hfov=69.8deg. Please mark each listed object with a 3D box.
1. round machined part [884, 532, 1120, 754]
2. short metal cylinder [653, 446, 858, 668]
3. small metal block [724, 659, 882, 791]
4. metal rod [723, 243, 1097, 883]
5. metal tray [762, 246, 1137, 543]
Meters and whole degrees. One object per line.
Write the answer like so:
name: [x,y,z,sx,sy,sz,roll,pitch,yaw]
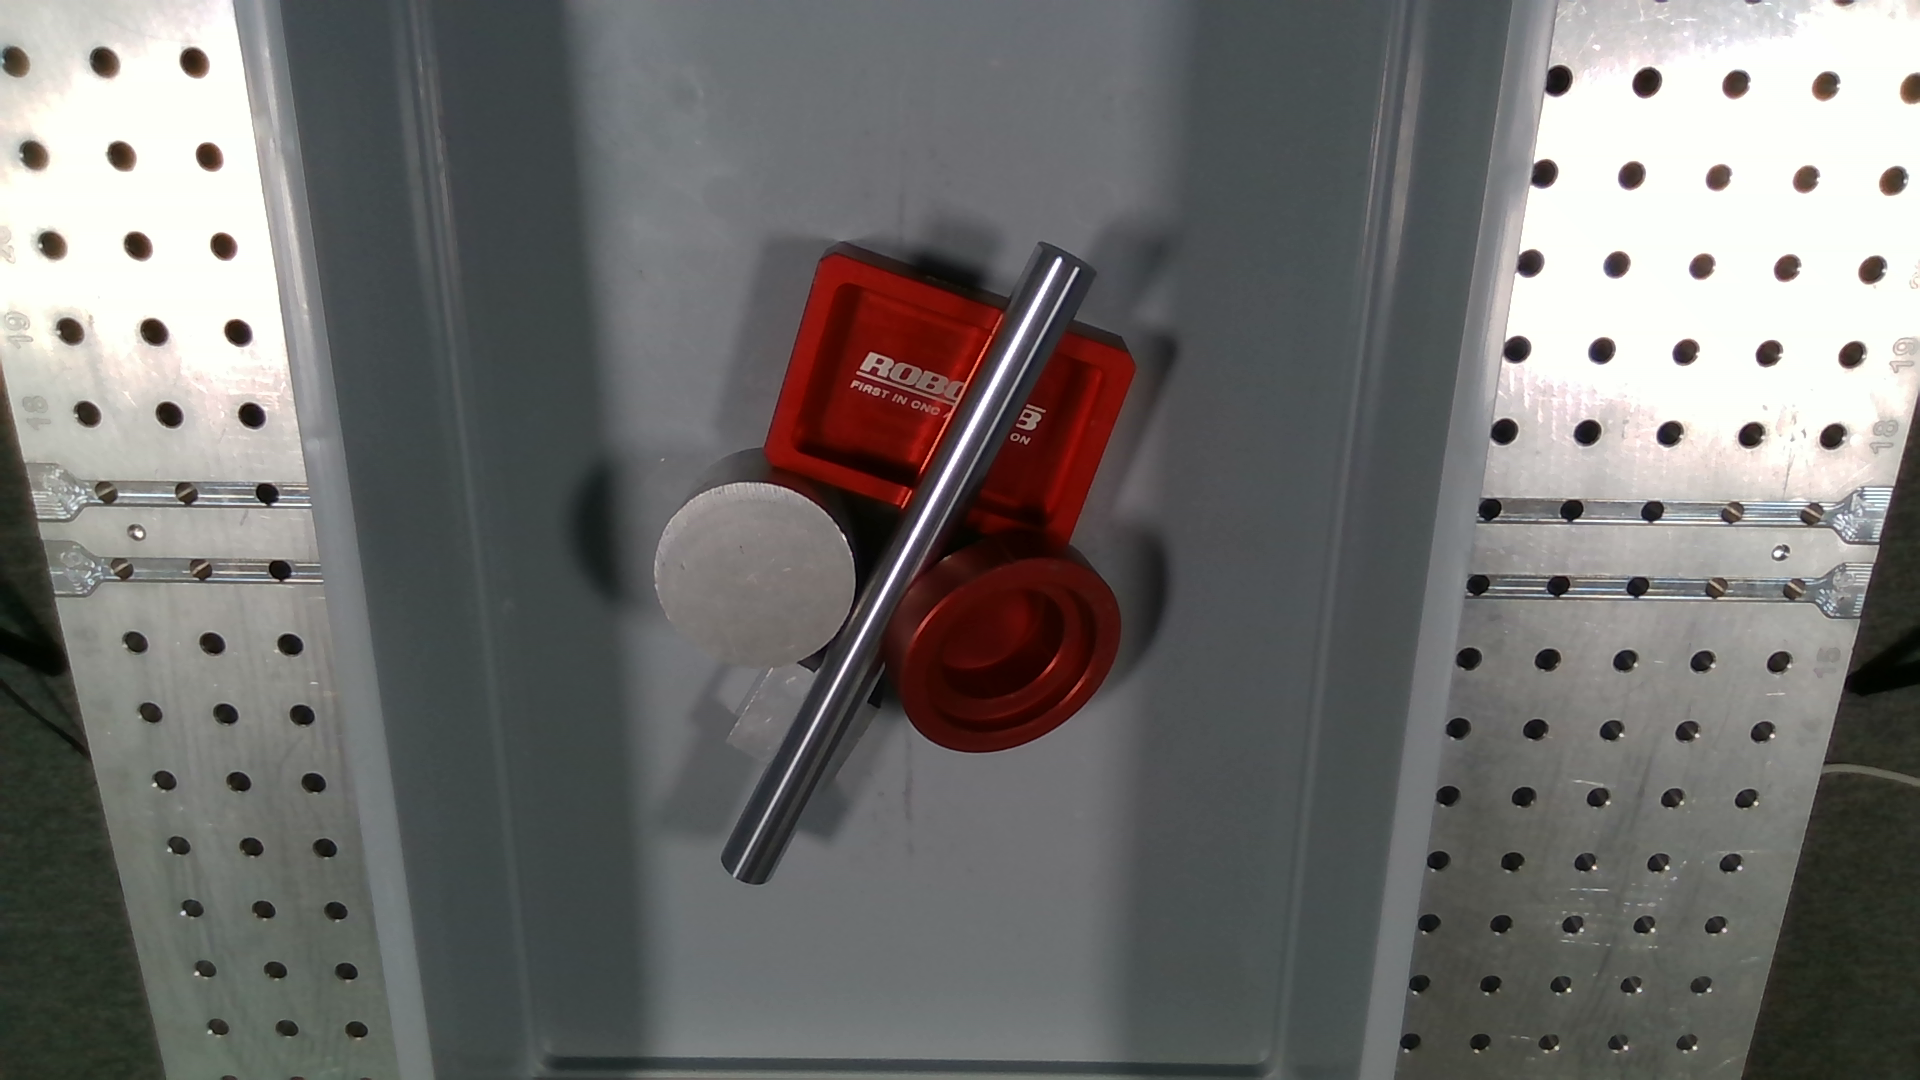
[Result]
round machined part: [0.014,0.038,0.575,0.098,0.042,0.098,-12,126,-18]
short metal cylinder: [-0.082,0.006,0.572,0.080,0.050,0.080,0,110,0]
small metal block: [-0.069,0.076,0.611,0.050,0.025,0.050,30,108,-10]
metal rod: [-0.027,0.020,0.560,0.025,0.025,0.301,25,111,-9]
metal tray: [-0.005,-0.057,0.558,0.130,0.030,0.090,17,109,-6]
